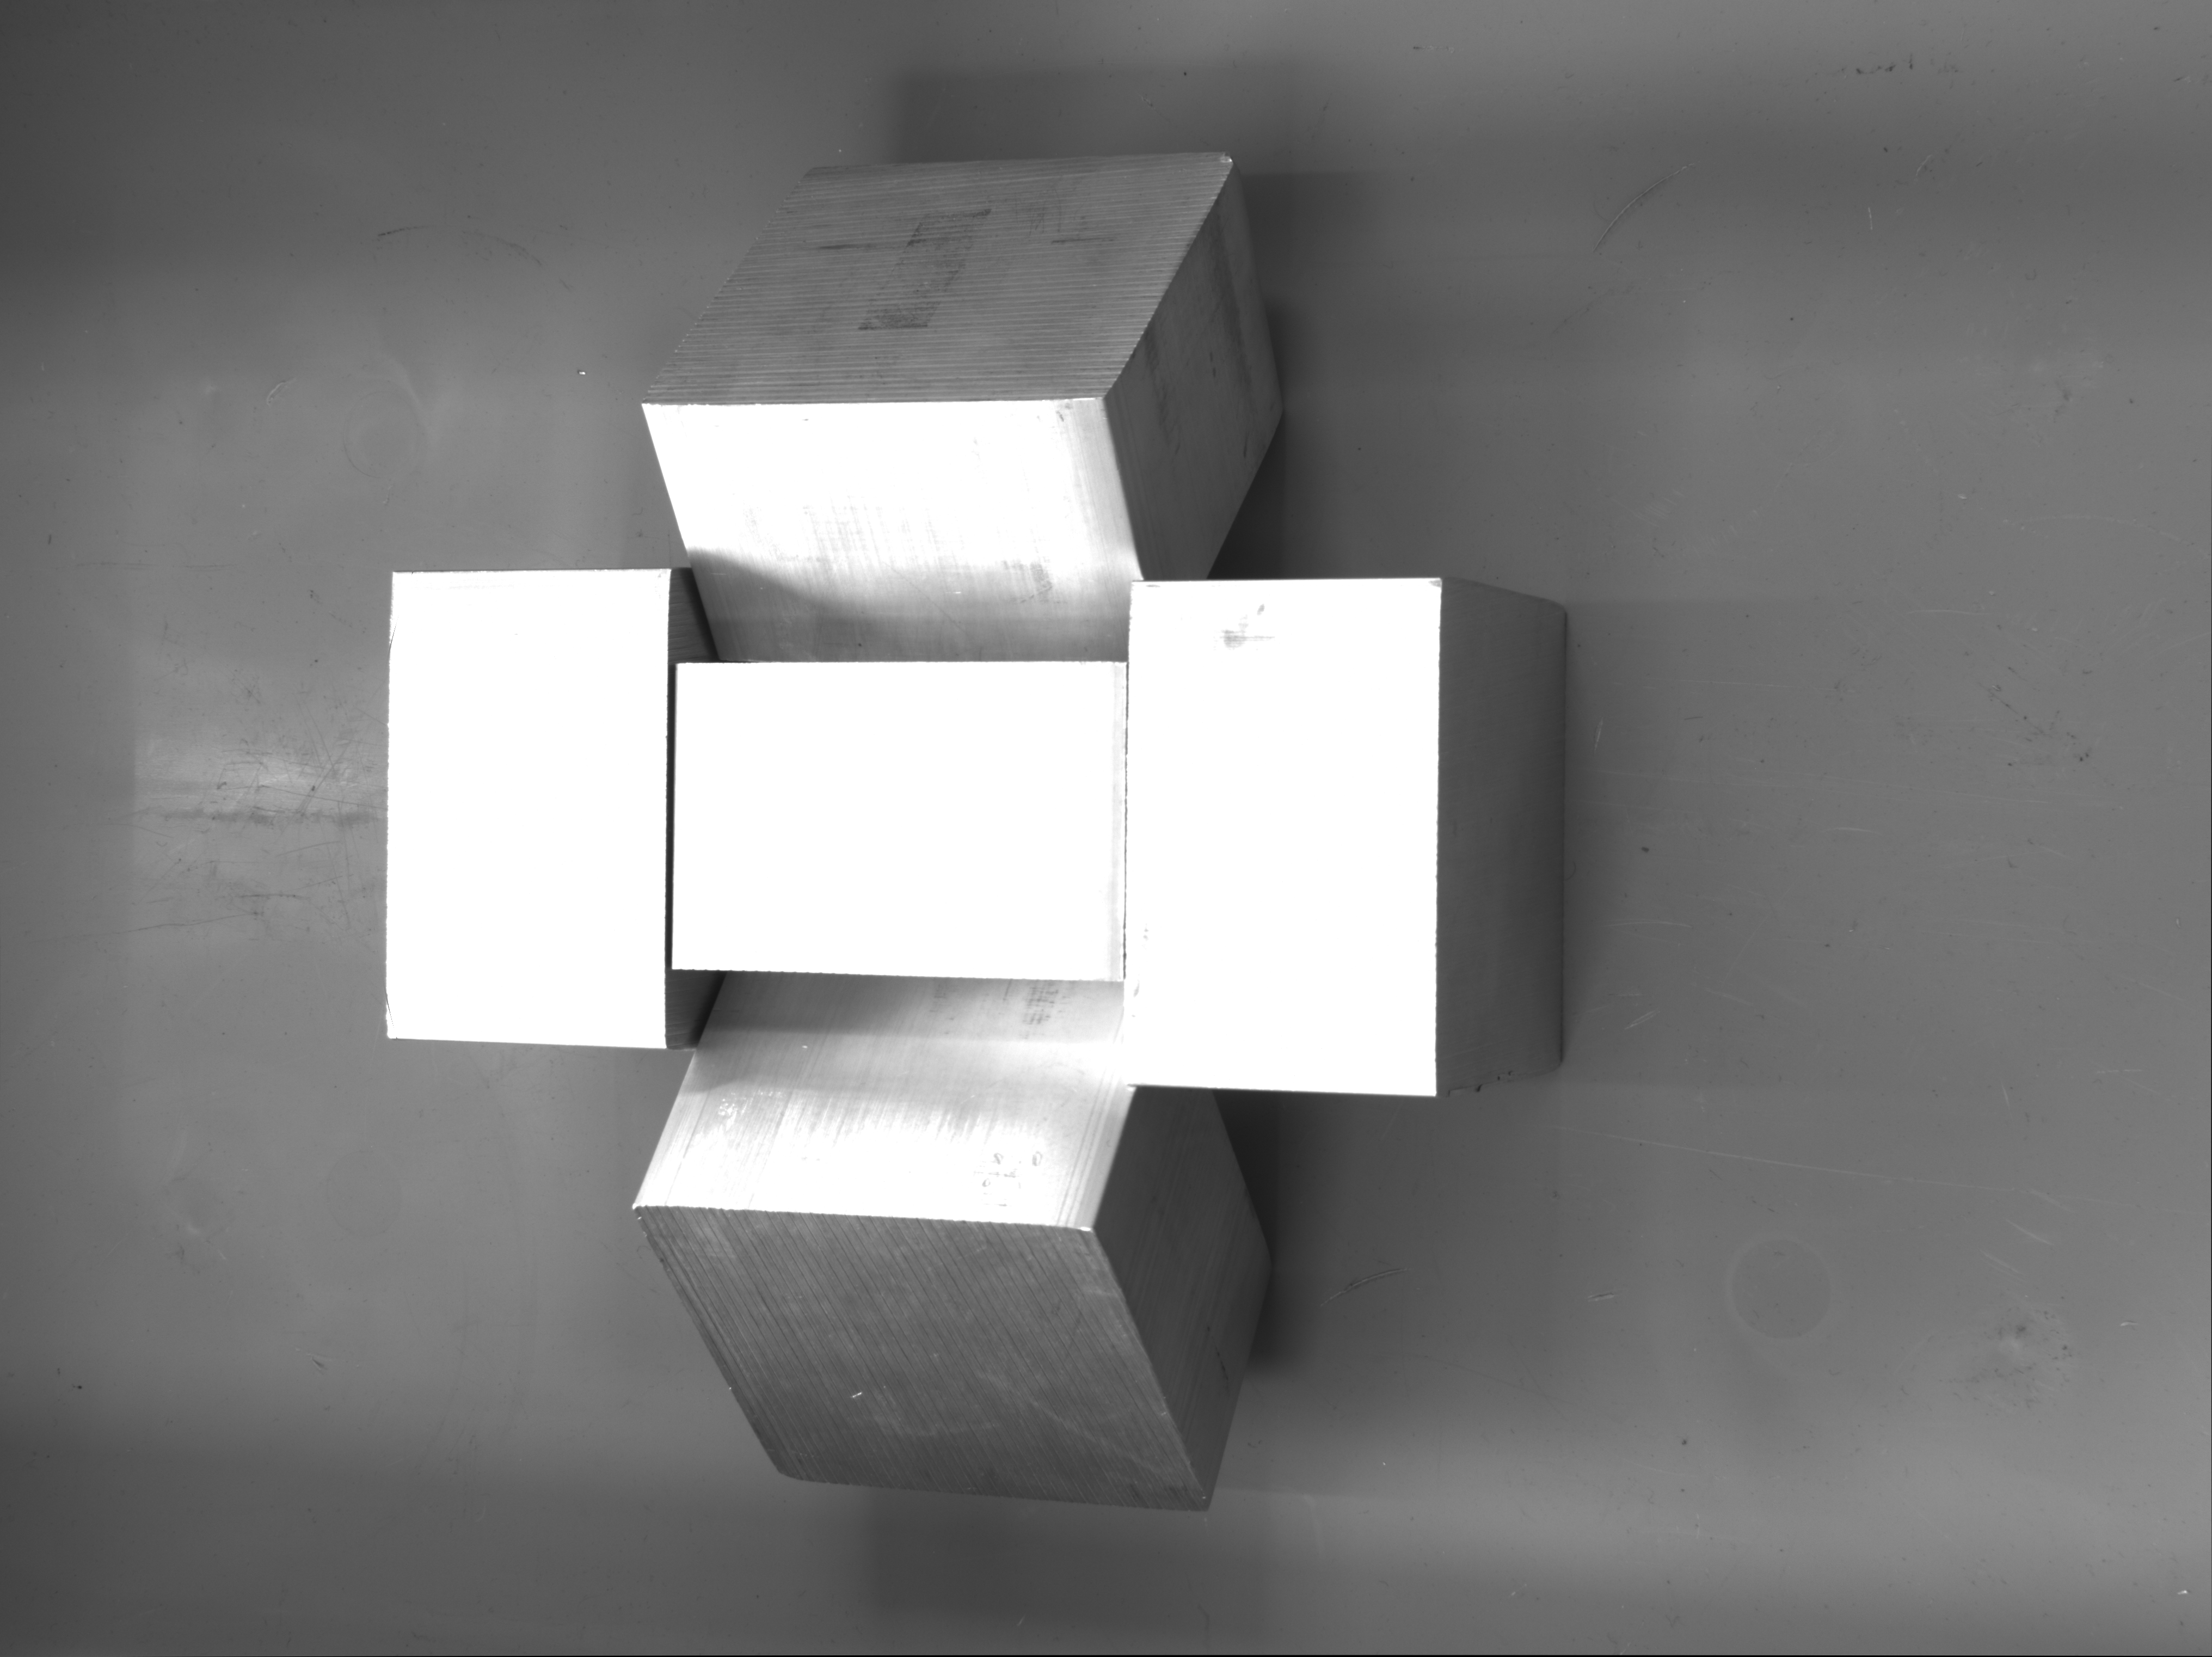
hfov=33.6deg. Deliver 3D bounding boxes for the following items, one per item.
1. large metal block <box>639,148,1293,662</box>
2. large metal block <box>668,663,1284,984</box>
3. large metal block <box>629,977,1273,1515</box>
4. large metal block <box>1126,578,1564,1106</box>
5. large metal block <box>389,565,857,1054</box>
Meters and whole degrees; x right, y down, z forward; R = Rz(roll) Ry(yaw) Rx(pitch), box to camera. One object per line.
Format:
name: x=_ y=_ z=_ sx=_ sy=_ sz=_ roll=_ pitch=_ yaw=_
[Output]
large metal block: x=-0.021 y=-0.072 z=0.617 sx=0.080 sy=0.080 sz=0.050 roll=2 pitch=128 yaw=20
large metal block: x=-0.020 y=-0.001 z=0.623 sx=0.080 sy=0.080 sz=0.050 roll=1 pitch=90 yaw=20
large metal block: x=-0.023 y=0.070 z=0.617 sx=0.080 sy=0.080 sz=0.050 roll=1 pitch=48 yaw=19
large metal block: x=0.041 y=0.002 z=0.601 sx=0.050 sy=0.080 sz=0.080 roll=1 pitch=90 yaw=20
large metal block: x=-0.083 y=-0.003 z=0.646 sx=0.050 sy=0.080 sz=0.080 roll=1 pitch=90 yaw=20
